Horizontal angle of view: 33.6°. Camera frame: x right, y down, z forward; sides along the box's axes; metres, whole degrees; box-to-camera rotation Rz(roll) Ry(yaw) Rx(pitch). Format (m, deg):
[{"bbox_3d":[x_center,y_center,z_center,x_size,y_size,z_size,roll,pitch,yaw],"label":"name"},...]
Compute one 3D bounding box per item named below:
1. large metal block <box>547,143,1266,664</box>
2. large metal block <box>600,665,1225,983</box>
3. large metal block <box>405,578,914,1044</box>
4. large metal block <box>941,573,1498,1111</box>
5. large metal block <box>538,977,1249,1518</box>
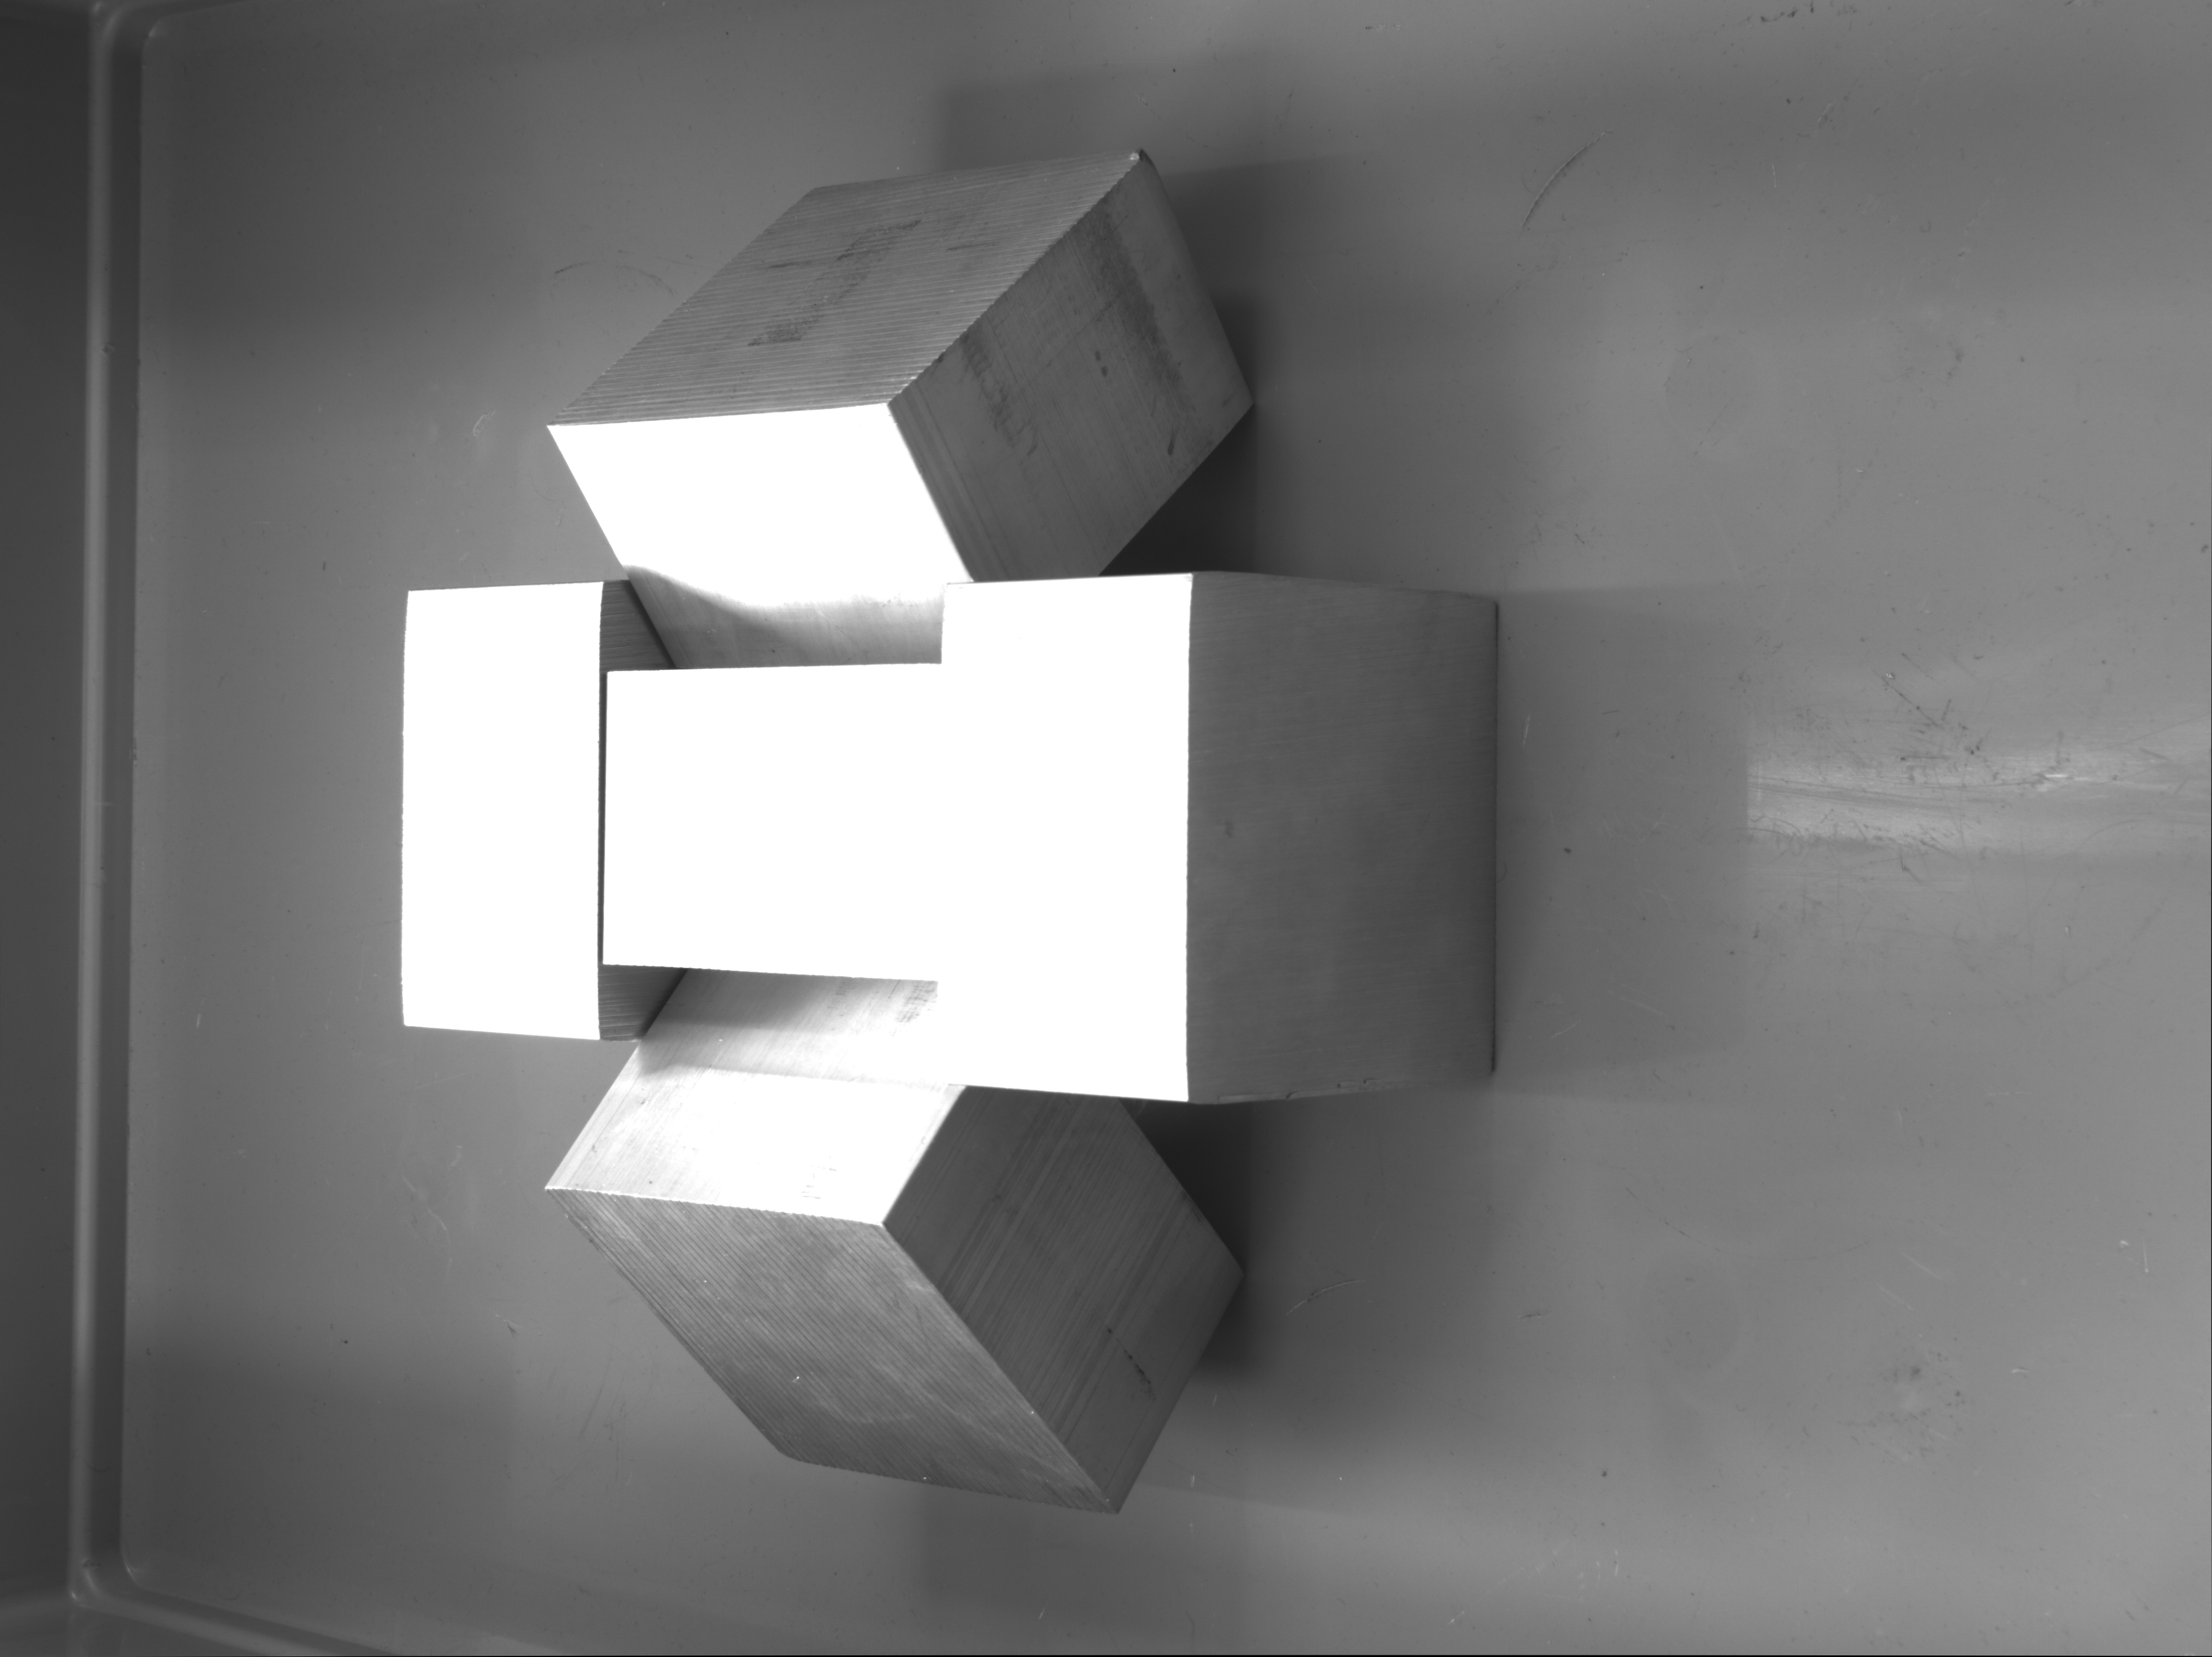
[{"bbox_3d":[-0.033,-0.072,0.628,0.080,0.080,0.050,2,129,40],"label":"large metal block"},{"bbox_3d":[-0.030,-0.001,0.633,0.080,0.080,0.050,1,90,40],"label":"large metal block"},{"bbox_3d":[-0.081,-0.003,0.676,0.050,0.080,0.080,1,90,40],"label":"large metal block"},{"bbox_3d":[0.019,0.002,0.592,0.050,0.080,0.080,1,90,40],"label":"large metal block"},{"bbox_3d":[-0.035,0.070,0.629,0.080,0.080,0.050,1,48,39],"label":"large metal block"}]
